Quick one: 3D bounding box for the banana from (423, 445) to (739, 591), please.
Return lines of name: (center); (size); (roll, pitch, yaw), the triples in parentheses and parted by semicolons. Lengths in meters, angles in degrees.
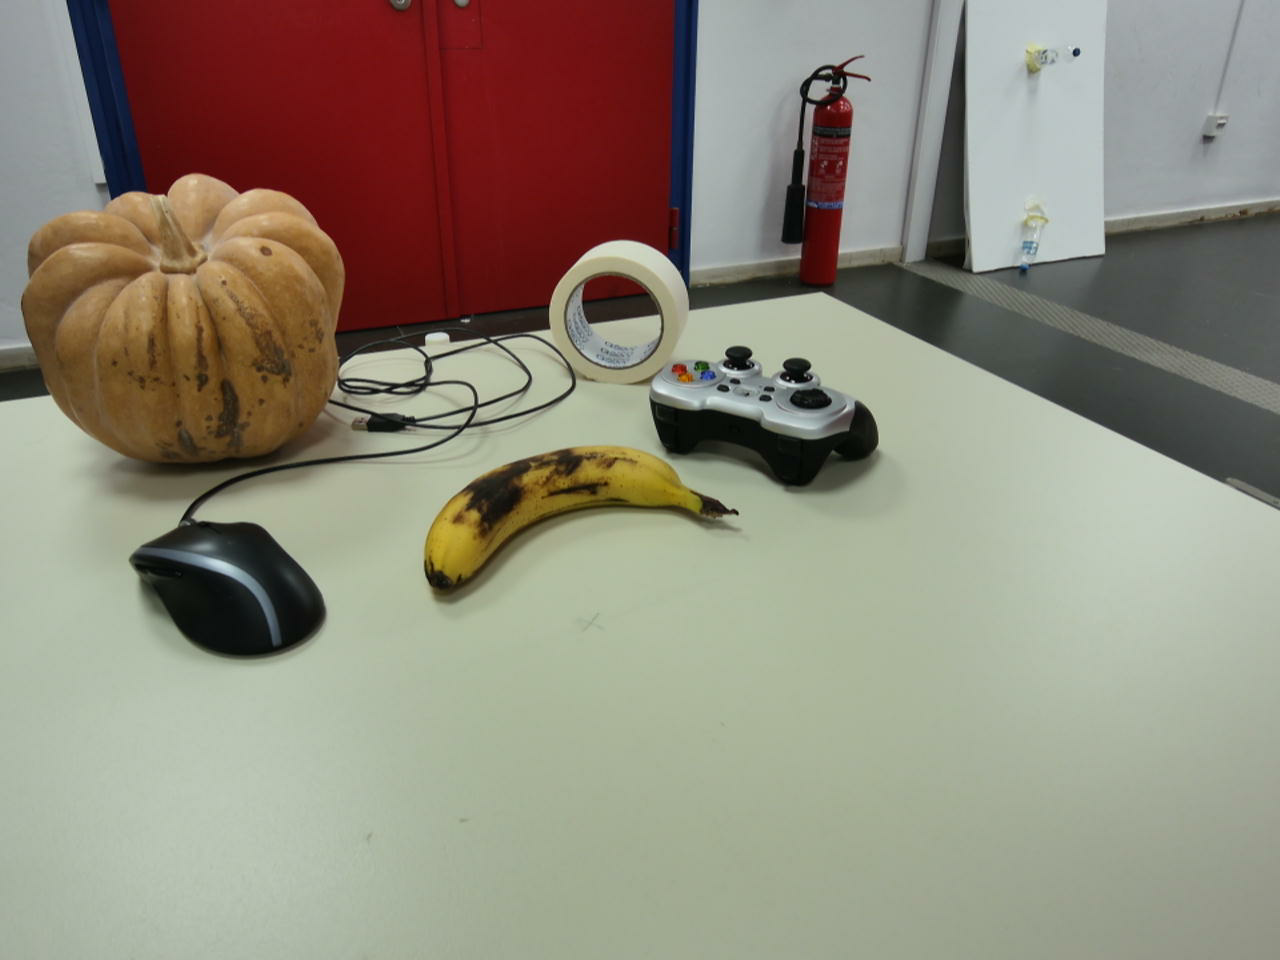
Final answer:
banana: (-0.046, 0.014, 0.595); (0.187, 0.039, 0.094); (-12, 29, -24)
